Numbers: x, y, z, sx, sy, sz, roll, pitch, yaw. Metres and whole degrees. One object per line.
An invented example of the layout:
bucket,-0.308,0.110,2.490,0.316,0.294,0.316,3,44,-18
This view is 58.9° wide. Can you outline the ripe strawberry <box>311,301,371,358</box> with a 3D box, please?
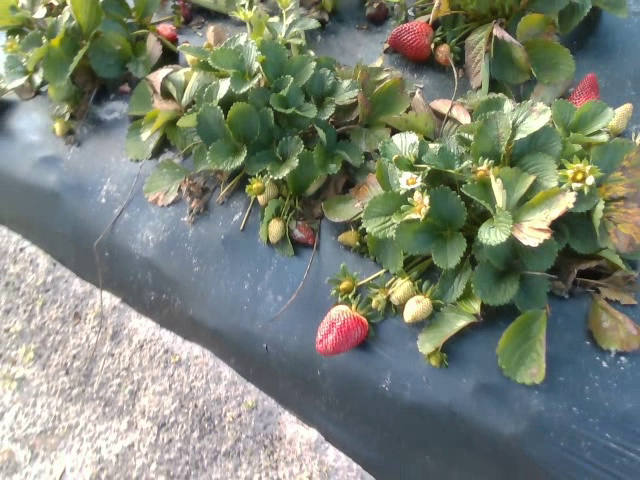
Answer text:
ripe strawberry,0.021,0.108,0.649,0.052,0.068,0.045,29,-28,19
